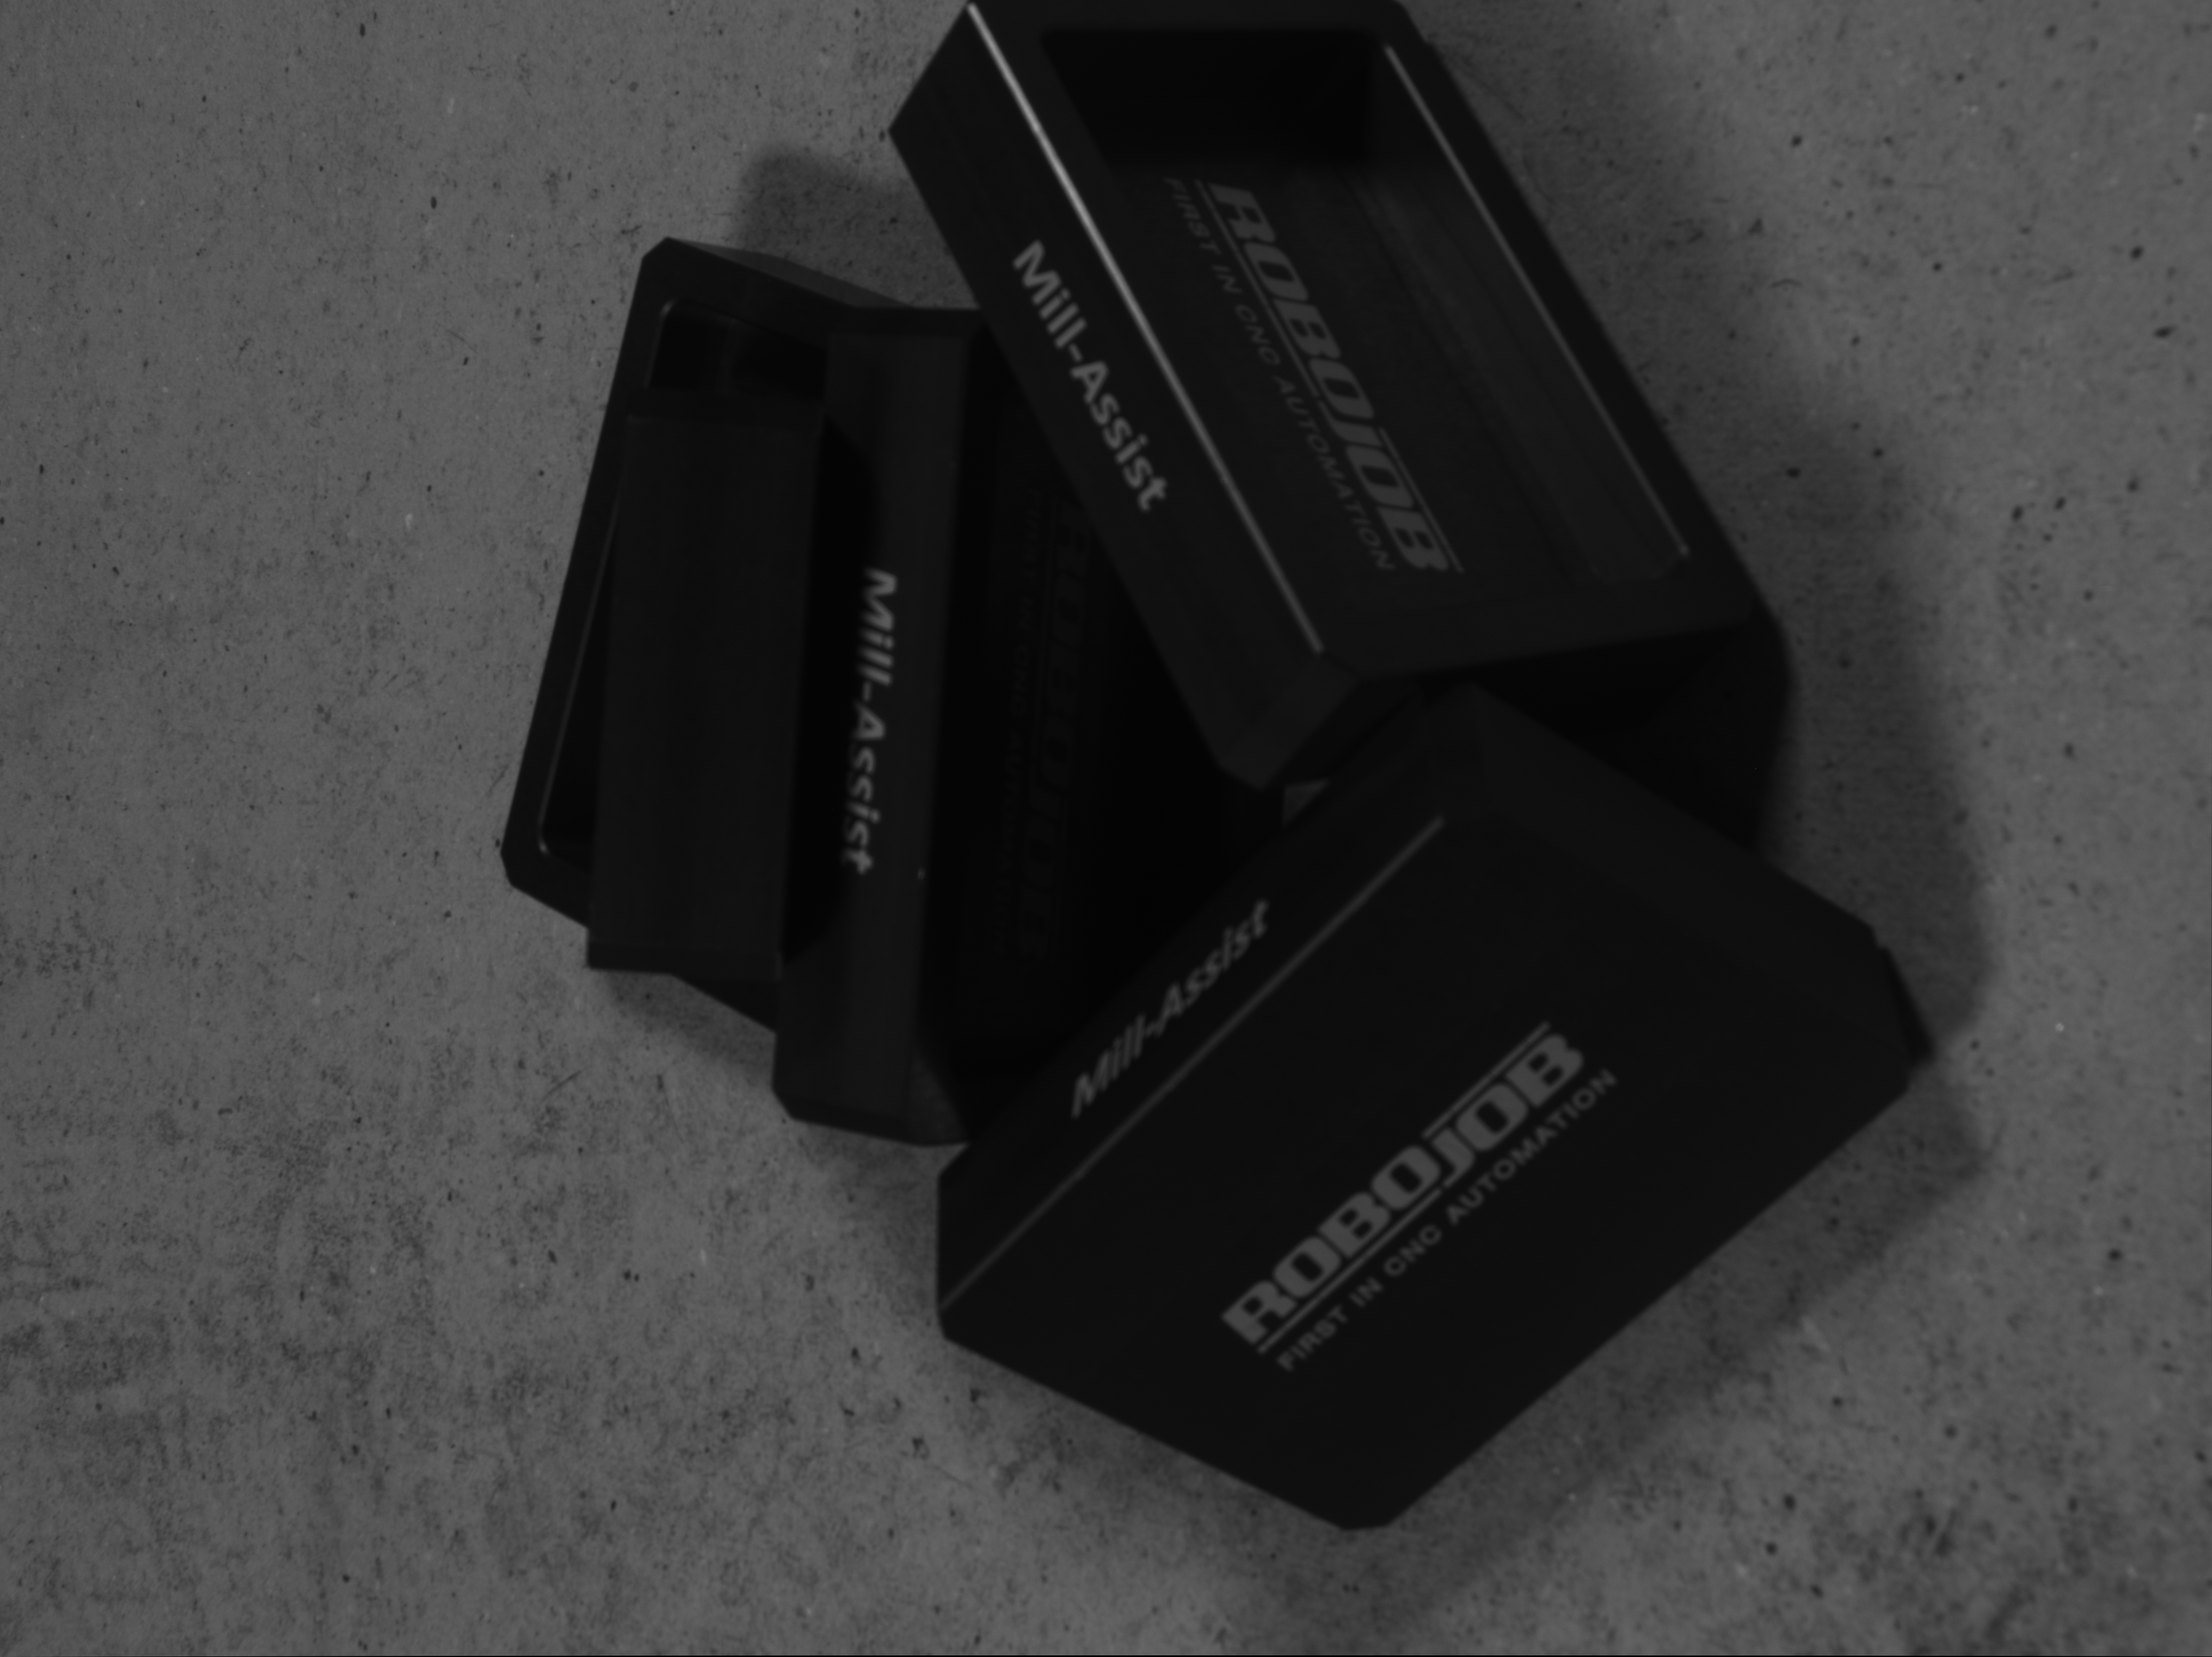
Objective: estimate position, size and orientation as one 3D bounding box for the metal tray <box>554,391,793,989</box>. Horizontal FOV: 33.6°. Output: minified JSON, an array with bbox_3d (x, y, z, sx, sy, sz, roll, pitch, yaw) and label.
[{"bbox_3d":[-0.073,-0.025,0.623,0.130,0.030,0.090,-143,58,-83],"label":"metal tray"}]

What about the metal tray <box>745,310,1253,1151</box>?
[{"bbox_3d":[-0.013,-0.016,0.606,0.030,0.090,0.130,8,95,39],"label":"metal tray"}]

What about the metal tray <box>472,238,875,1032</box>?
[{"bbox_3d":[-0.067,-0.036,0.688,0.090,0.030,0.130,25,105,37],"label":"metal tray"}]

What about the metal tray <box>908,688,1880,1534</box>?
[{"bbox_3d":[0.041,0.047,0.560,0.130,0.090,0.030,-46,28,30],"label":"metal tray"}]

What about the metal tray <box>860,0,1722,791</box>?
[{"bbox_3d":[0.028,-0.072,0.569,0.030,0.090,0.130,-48,60,45],"label":"metal tray"}]
